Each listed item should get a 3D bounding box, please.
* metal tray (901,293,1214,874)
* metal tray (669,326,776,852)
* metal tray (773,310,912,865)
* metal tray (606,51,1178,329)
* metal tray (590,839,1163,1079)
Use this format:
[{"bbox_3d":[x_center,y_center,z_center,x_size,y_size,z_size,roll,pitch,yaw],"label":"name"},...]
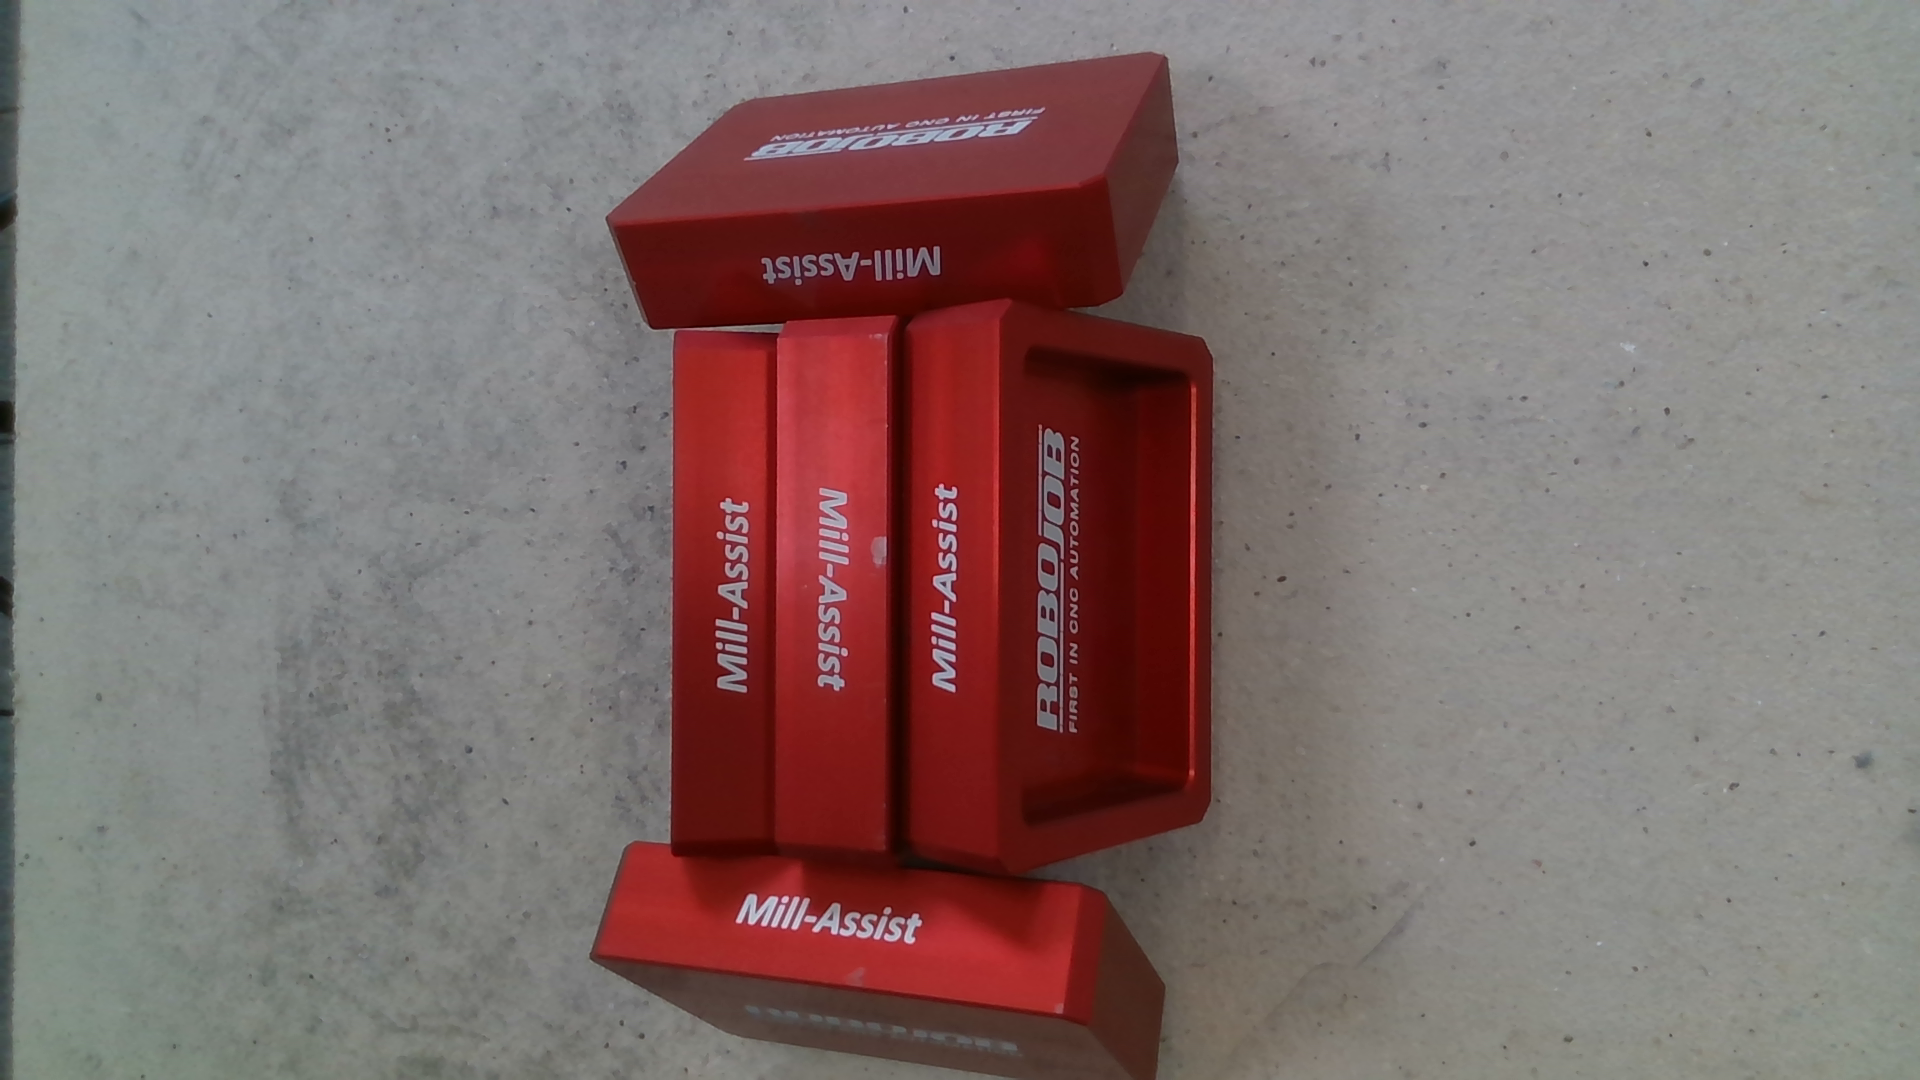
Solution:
[{"bbox_3d":[0.027,0.010,0.347,0.030,0.090,0.130,1,90,42],"label":"metal tray"},{"bbox_3d":[-0.063,0.012,0.381,0.030,0.090,0.130,0,90,-9],"label":"metal tray"},{"bbox_3d":[-0.015,0.011,0.364,0.030,0.090,0.130,0,91,20],"label":"metal tray"},{"bbox_3d":[-0.015,-0.093,0.365,0.130,0.090,0.030,0,127,20],"label":"metal tray"},{"bbox_3d":[-0.019,0.114,0.366,0.130,0.090,0.030,1,59,20],"label":"metal tray"}]
